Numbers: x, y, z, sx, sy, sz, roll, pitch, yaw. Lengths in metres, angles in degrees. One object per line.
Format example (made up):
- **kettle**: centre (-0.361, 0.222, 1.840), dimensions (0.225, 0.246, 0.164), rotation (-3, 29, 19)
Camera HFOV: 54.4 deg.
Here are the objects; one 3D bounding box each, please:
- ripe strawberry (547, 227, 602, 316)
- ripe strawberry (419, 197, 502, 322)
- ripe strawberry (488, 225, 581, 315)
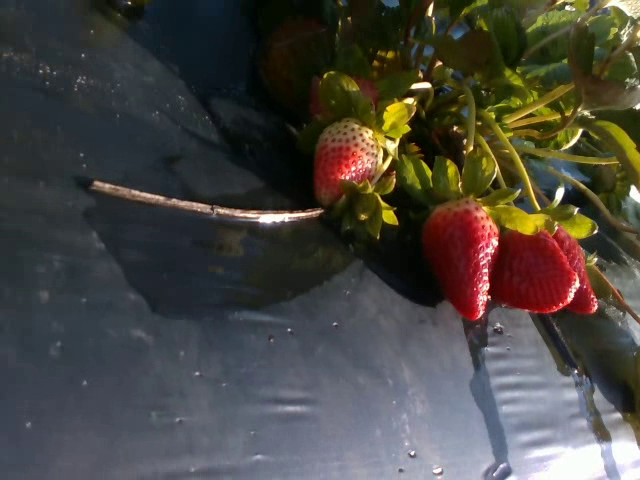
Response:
- **ripe strawberry**: centre (0.098, 0.016, 0.248), dimensions (0.035, 0.034, 0.041), rotation (8, 33, -39)
- **ripe strawberry**: centre (0.052, 0.006, 0.215), dimensions (0.031, 0.046, 0.023), rotation (13, -24, -38)
- **ripe strawberry**: centre (0.078, 0.010, 0.227), dimensions (0.030, 0.037, 0.039), rotation (26, 9, -36)
